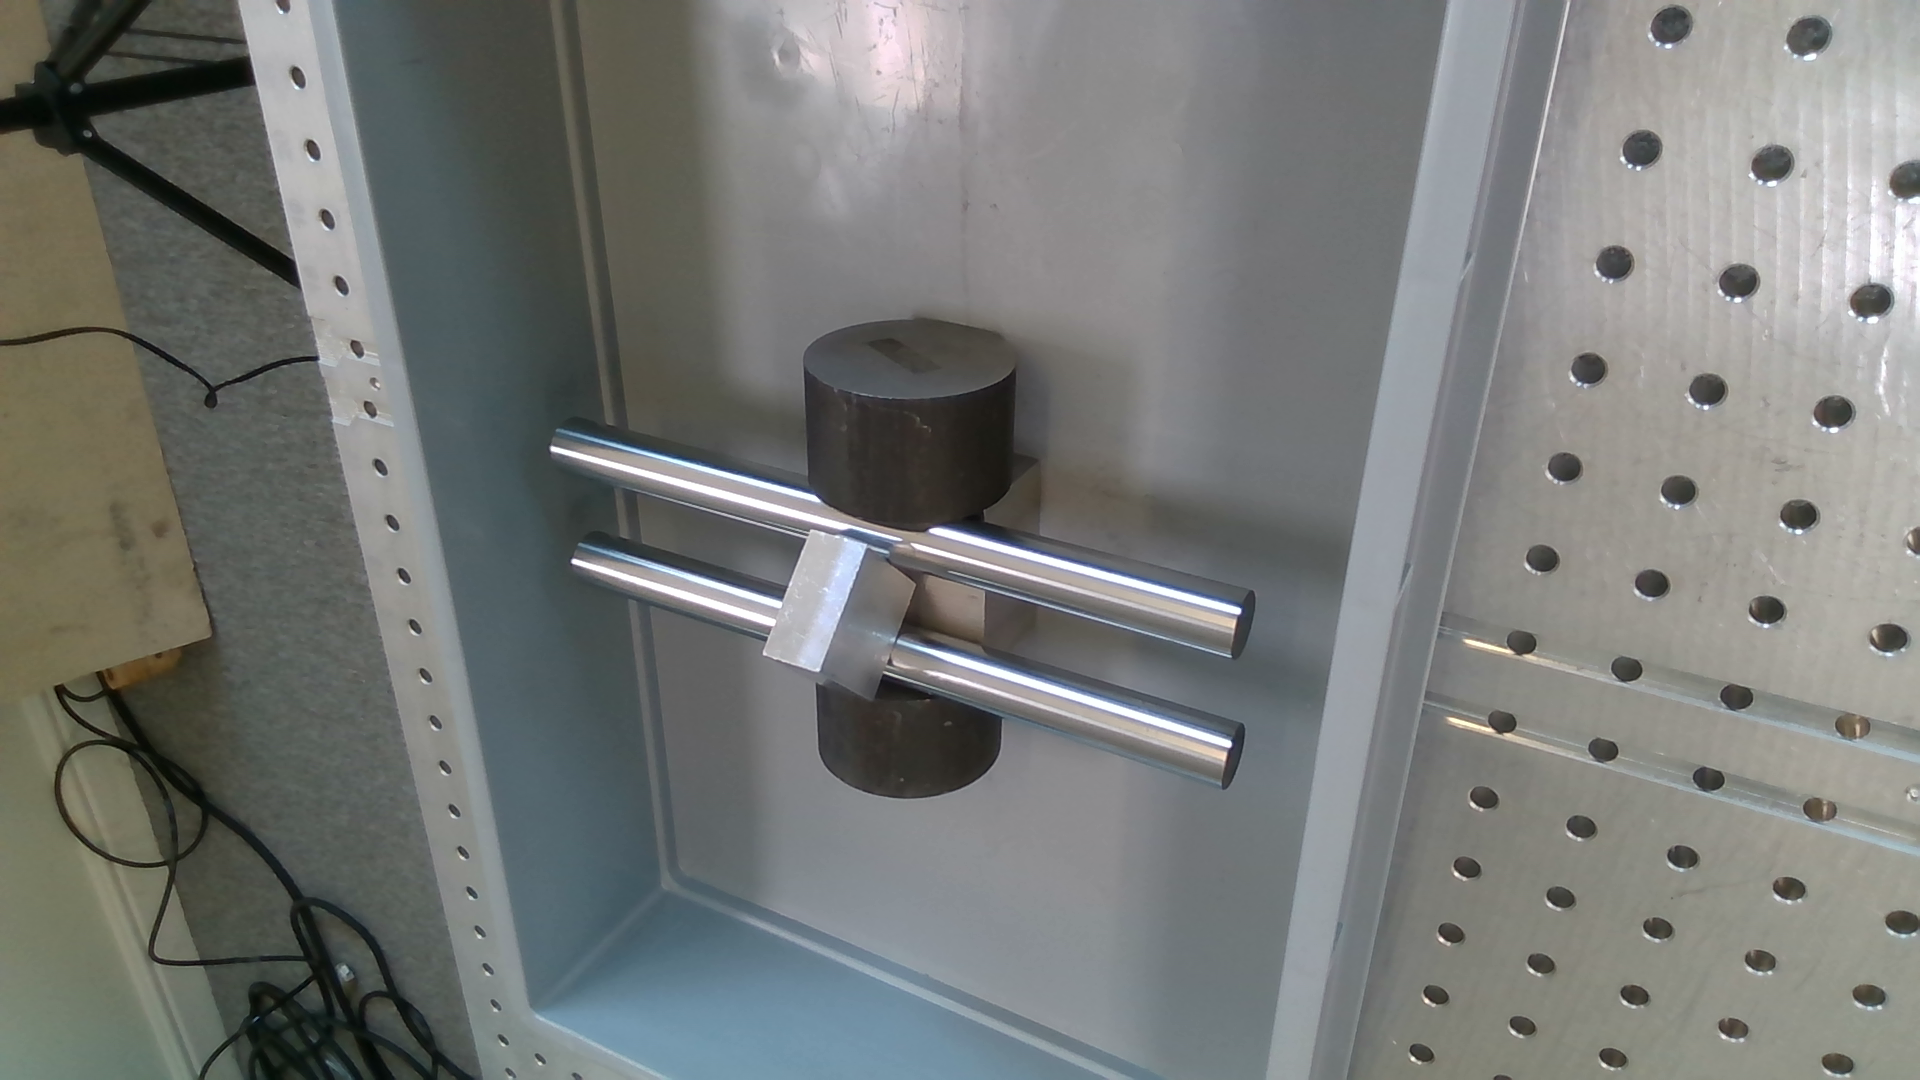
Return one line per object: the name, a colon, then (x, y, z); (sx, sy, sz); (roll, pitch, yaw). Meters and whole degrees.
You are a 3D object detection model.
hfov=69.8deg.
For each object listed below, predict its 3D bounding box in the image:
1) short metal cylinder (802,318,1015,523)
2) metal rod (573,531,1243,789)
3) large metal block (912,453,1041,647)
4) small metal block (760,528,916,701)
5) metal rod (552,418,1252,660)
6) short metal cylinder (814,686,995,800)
short metal cylinder: (-0.020, -0.048, 0.529); (0.080, 0.080, 0.050); (16, 122, 24)
metal rod: (-0.034, 0.043, 0.559); (0.300, 0.025, 0.025); (15, 122, 24)
large metal block: (-0.015, 0.003, 0.573); (0.080, 0.050, 0.080); (15, 122, 24)
small metal block: (-0.045, 0.029, 0.526); (0.025, 0.050, 0.050); (15, 78, 25)
metal rod: (-0.035, -0.006, 0.533); (0.300, 0.025, 0.025); (15, 122, 24)
short metal cylinder: (-0.023, 0.067, 0.594); (0.080, 0.080, 0.050); (15, 121, 24)
